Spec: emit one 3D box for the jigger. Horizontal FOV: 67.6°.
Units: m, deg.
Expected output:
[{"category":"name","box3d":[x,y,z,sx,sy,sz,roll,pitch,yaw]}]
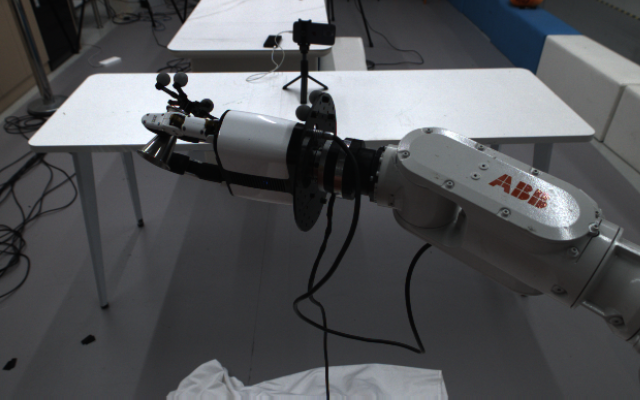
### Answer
[{"category":"jigger","box3d":[-0.187,-0.078,0.591,0.043,0.043,0.071,20,74,24]}]
